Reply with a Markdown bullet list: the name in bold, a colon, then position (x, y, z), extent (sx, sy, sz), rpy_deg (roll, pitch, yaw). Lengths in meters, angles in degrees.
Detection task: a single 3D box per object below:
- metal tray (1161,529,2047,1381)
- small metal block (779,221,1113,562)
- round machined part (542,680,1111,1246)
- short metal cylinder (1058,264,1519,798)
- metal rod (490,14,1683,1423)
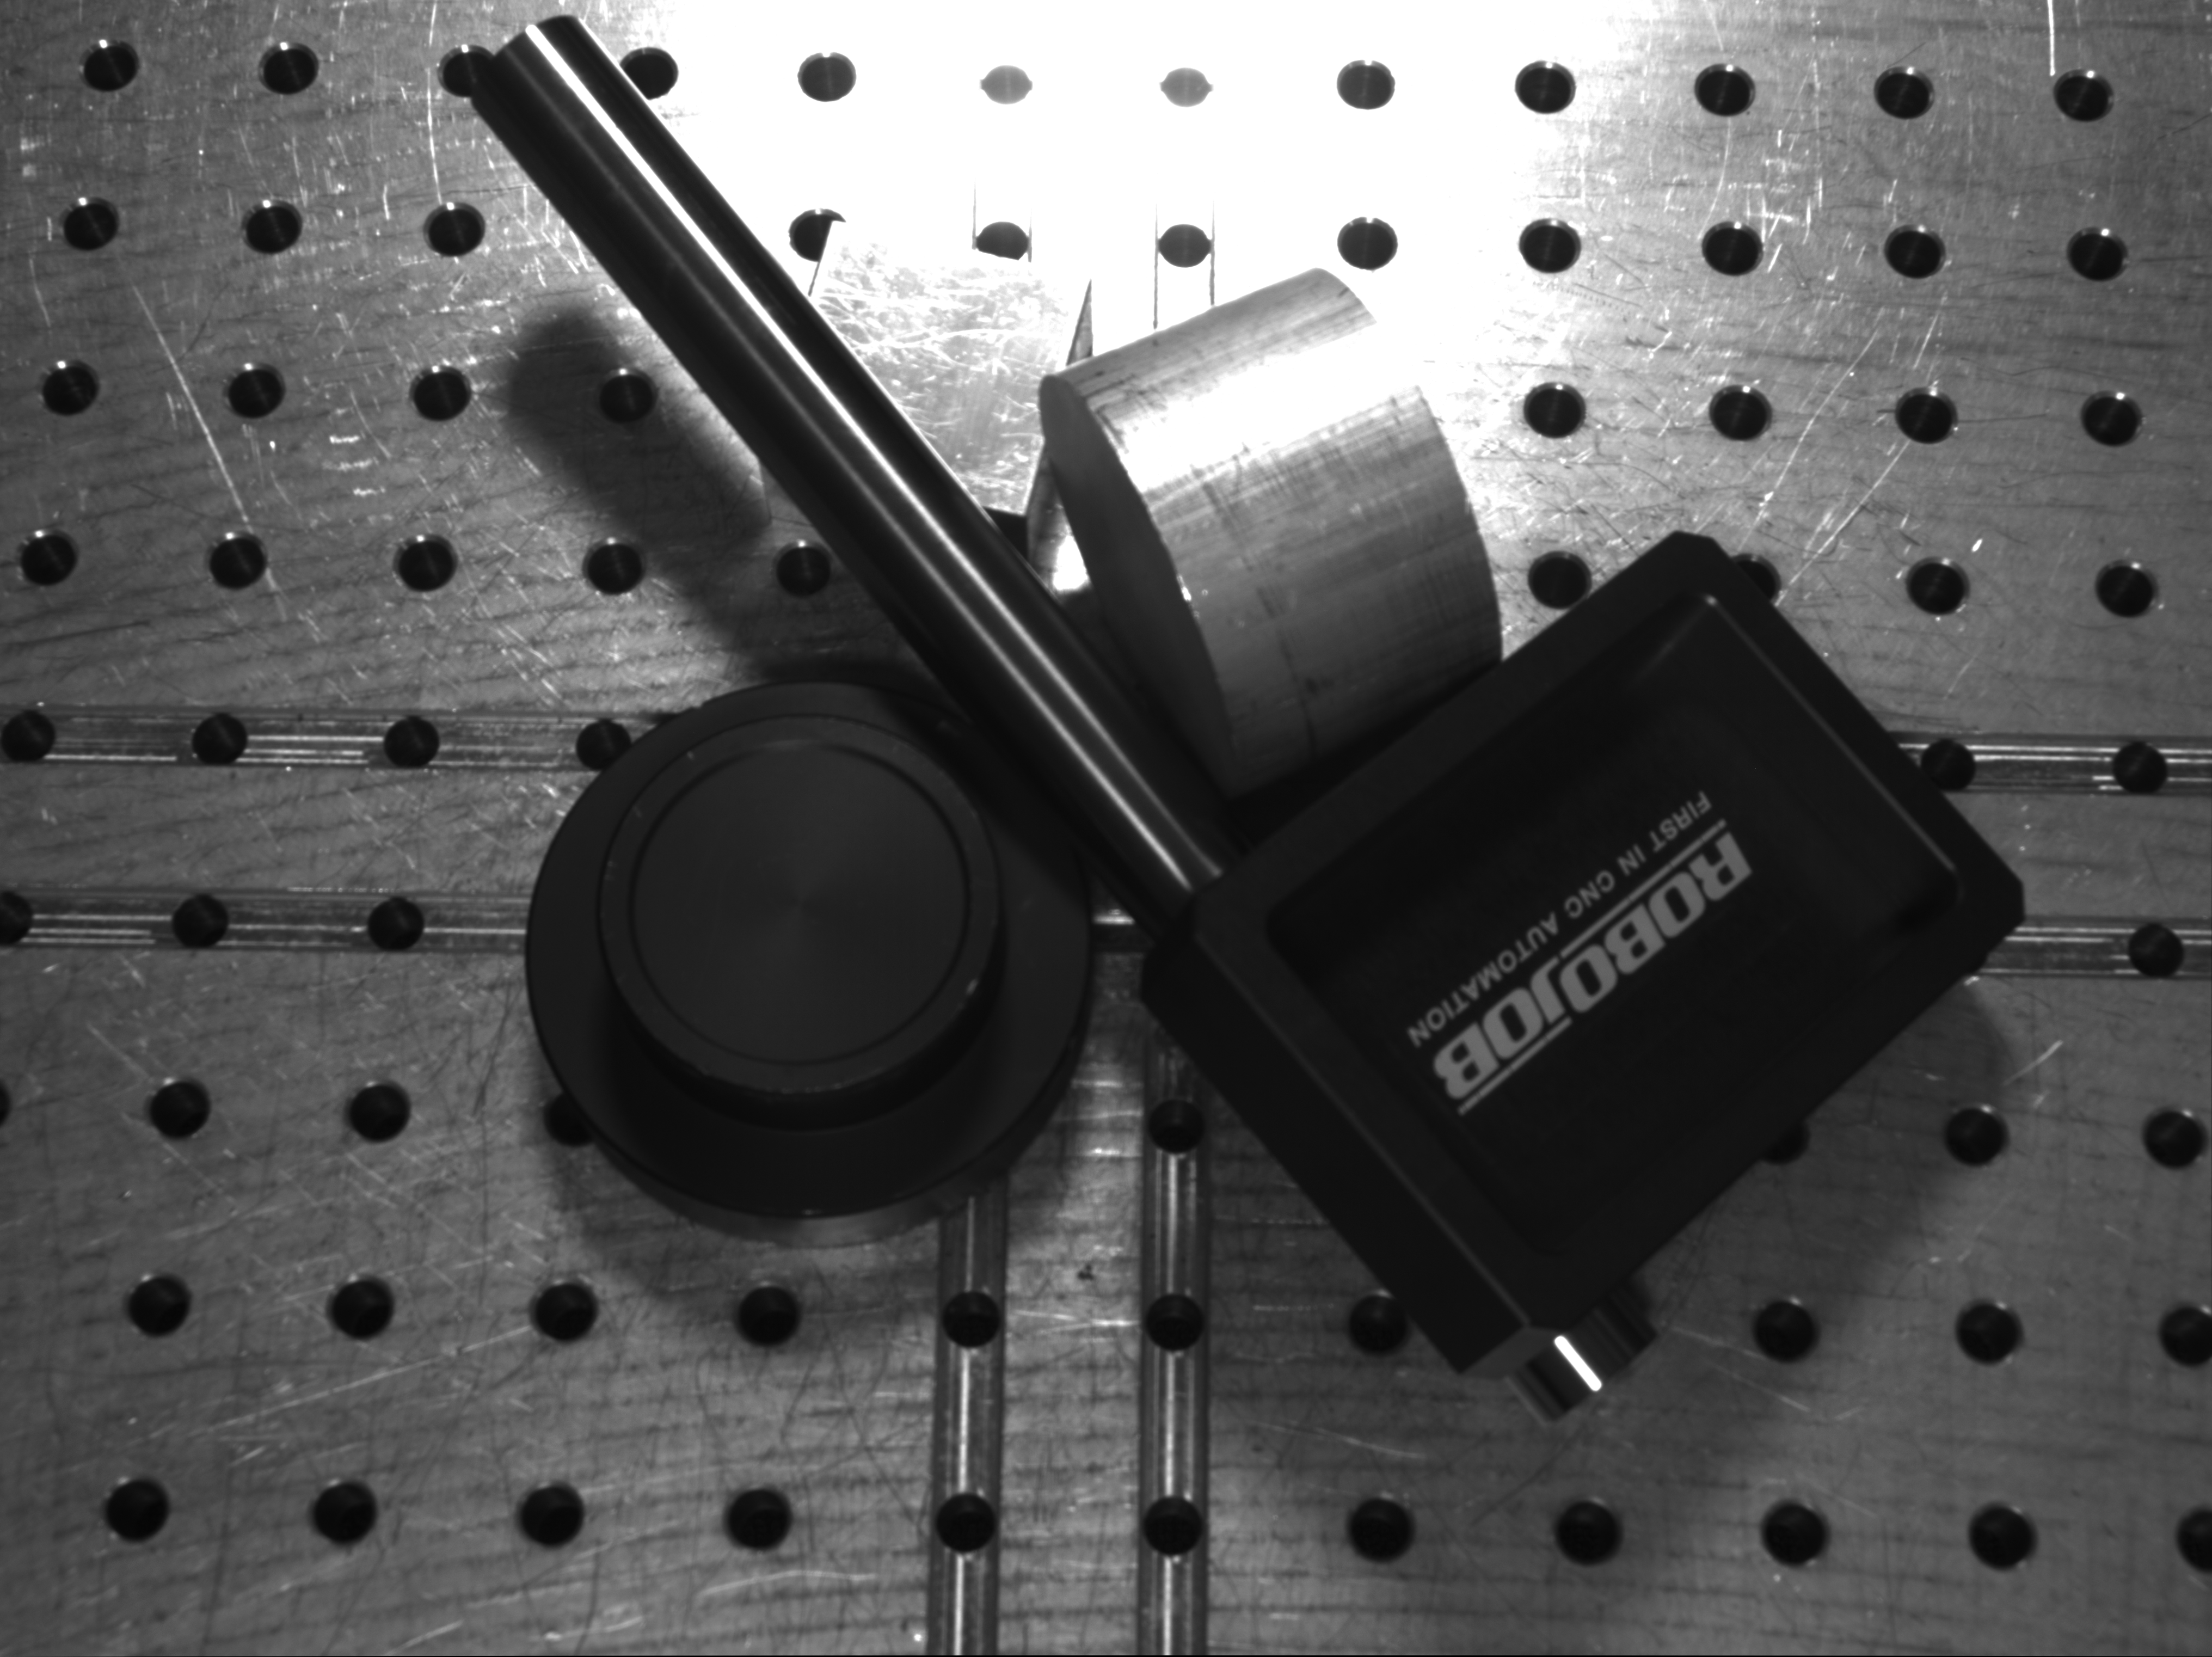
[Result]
- **metal tray**: position (0.085, 0.019, 0.615), extent (0.130, 0.030, 0.090), rpy_deg (-36, 81, -28)
- **small metal block**: position (-0.029, -0.080, 0.677), extent (0.050, 0.025, 0.050), rpy_deg (13, 70, 5)
- **round machined part**: position (-0.048, 0.019, 0.630), extent (0.098, 0.042, 0.098), rpy_deg (0, 70, 0)
- **short metal cylinder**: position (0.031, -0.051, 0.637), extent (0.050, 0.080, 0.080), rpy_deg (-24, 71, -8)
- **metal rod**: position (-0.006, -0.023, 0.638), extent (0.025, 0.025, 0.300), rpy_deg (-38, 82, -13)
